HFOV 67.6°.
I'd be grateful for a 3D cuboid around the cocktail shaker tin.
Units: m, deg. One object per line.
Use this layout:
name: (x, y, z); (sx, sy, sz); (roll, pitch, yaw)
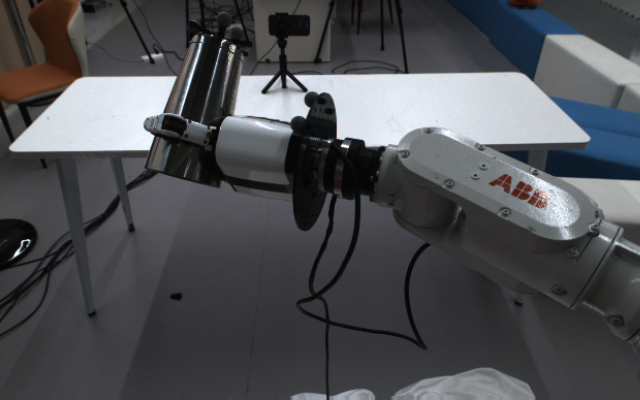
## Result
cocktail shaker tin: (-0.147, -0.107, 0.592); (0.093, 0.170, 0.093); (14, -4, 1)
